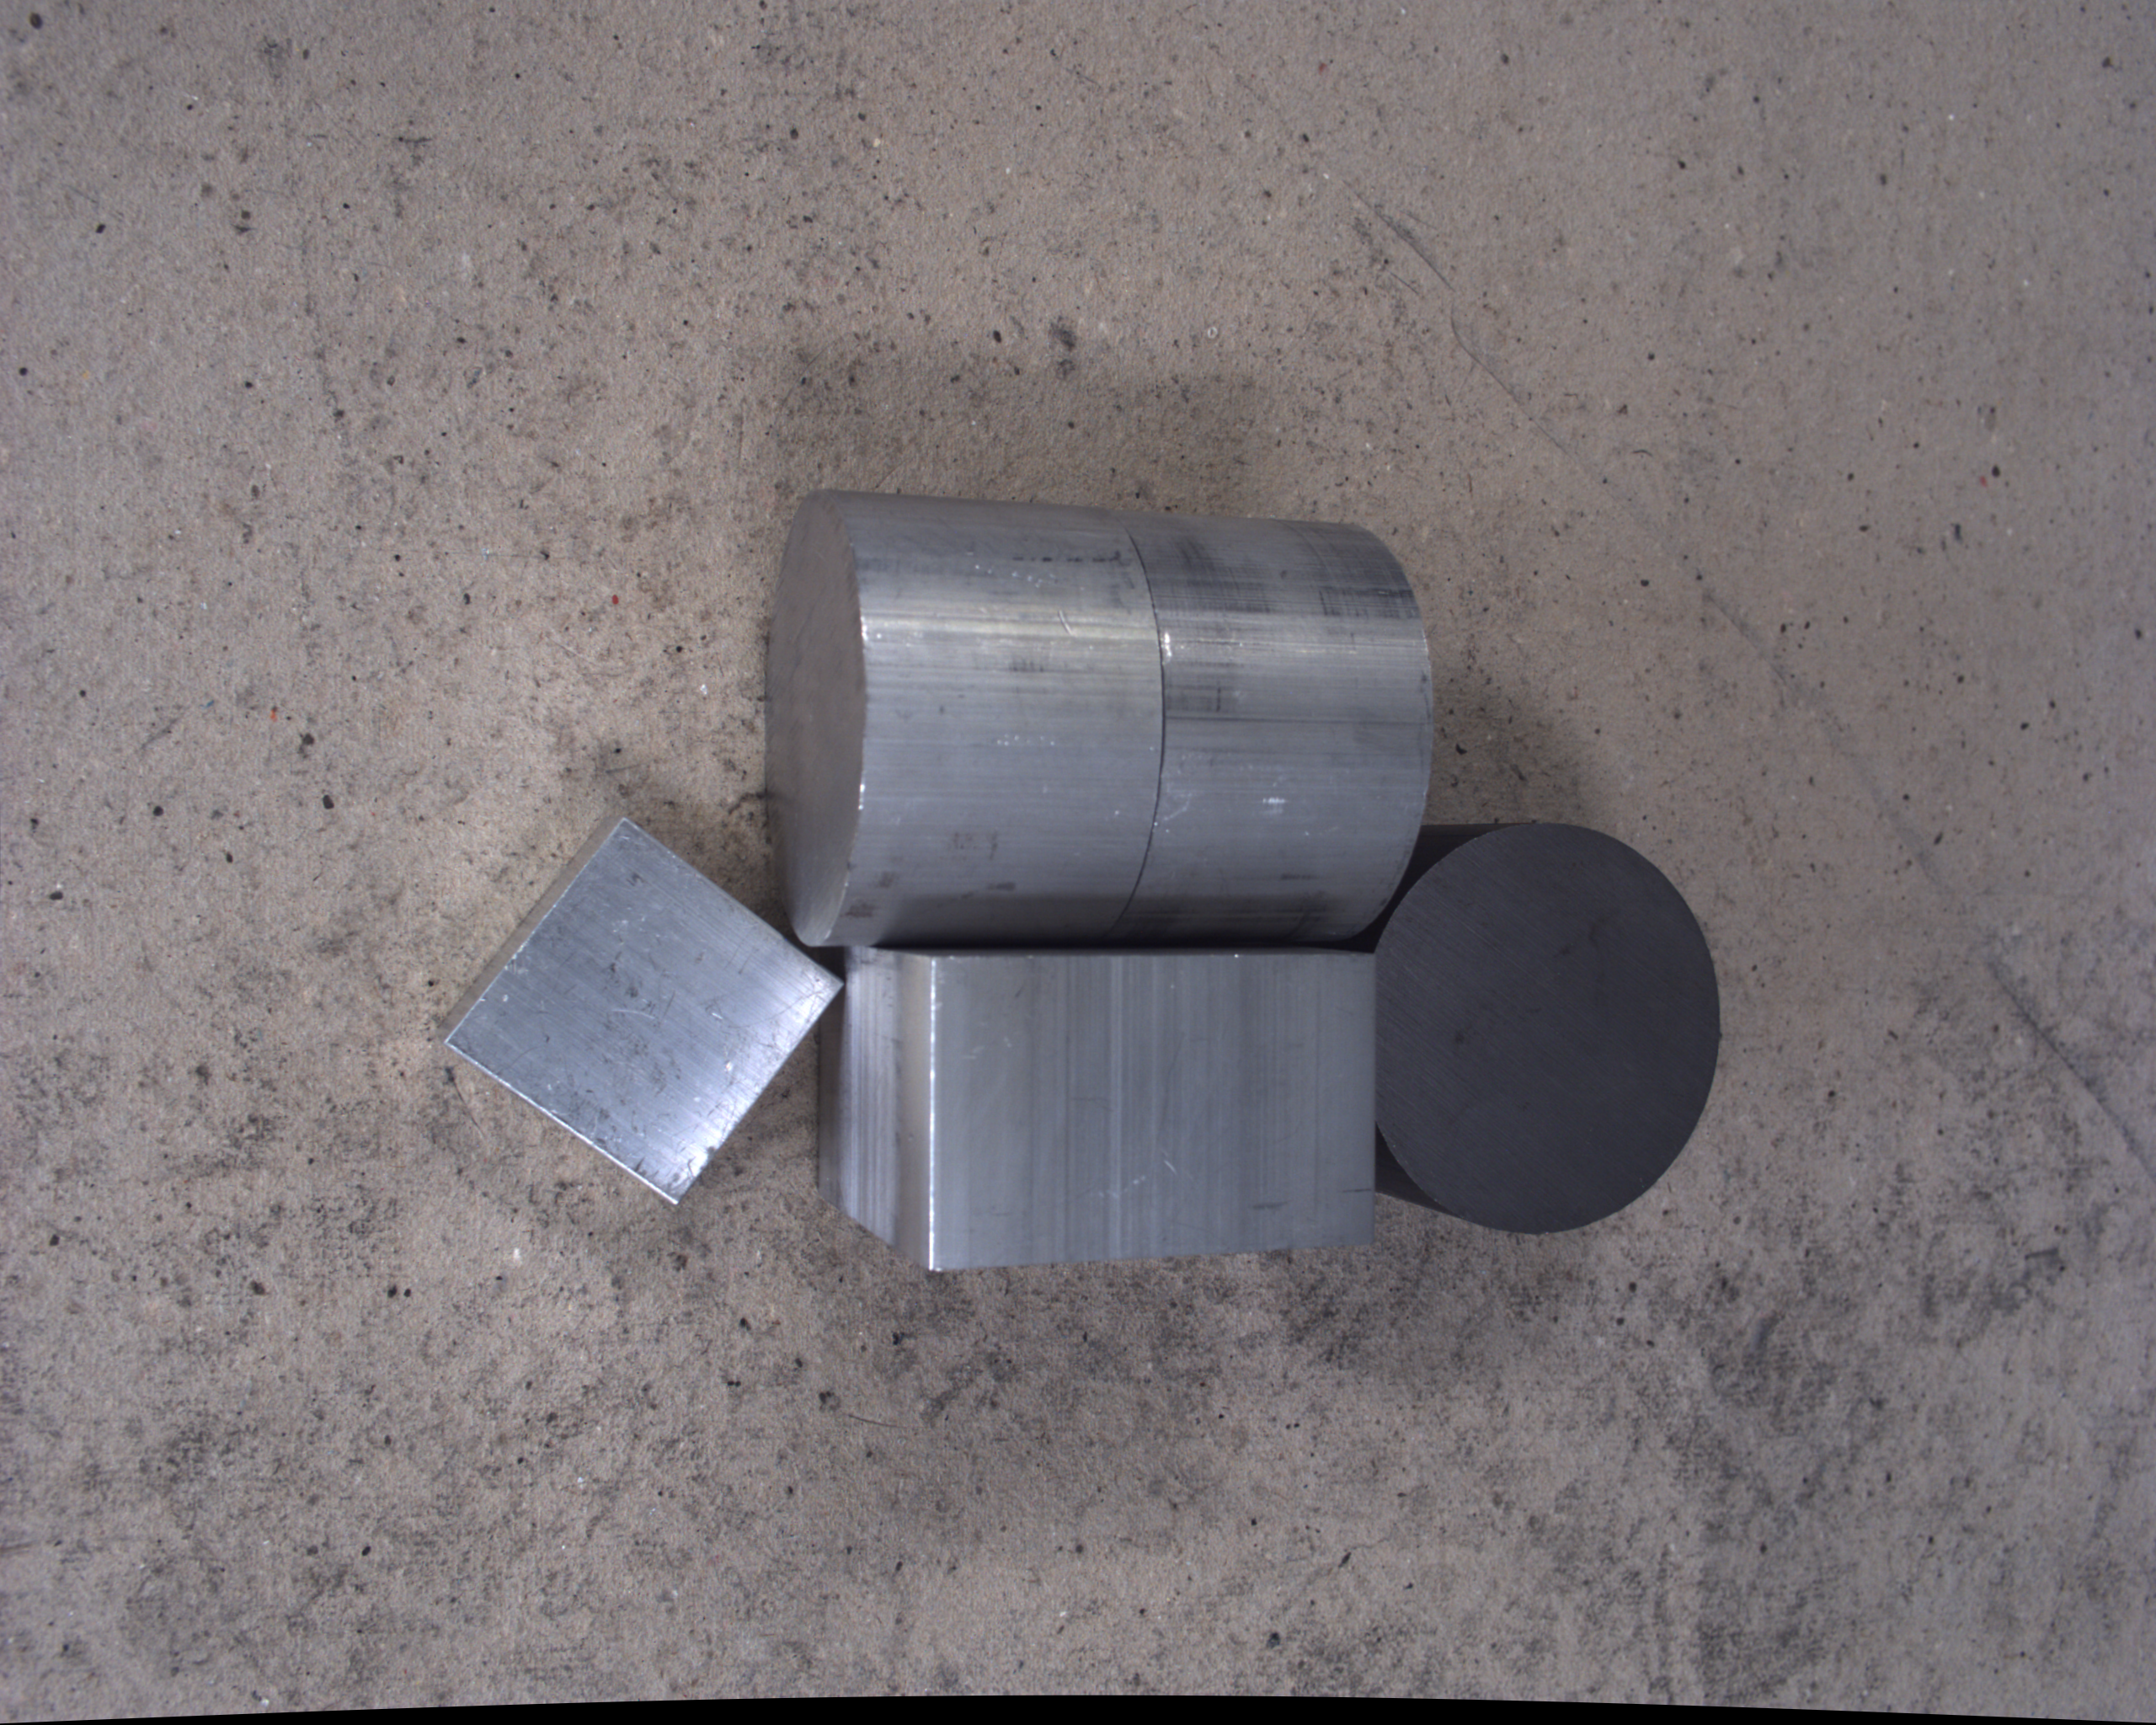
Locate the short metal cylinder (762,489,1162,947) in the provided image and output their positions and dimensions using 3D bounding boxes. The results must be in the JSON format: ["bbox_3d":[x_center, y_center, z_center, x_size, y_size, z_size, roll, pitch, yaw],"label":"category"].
[{"bbox_3d":[-0.023,-0.025,0.373,0.050,0.080,0.079,1,90,-20],"label":"short metal cylinder"}]

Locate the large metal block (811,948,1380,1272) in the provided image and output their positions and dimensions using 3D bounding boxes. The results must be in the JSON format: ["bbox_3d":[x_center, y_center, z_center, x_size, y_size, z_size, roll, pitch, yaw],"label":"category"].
[{"bbox_3d":[0.000,0.040,0.382,0.081,0.080,0.050,1,90,-20],"label":"large metal block"}]

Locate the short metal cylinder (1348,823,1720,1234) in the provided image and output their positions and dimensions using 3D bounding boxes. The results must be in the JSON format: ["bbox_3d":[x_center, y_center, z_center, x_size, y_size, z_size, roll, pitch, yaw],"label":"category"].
[{"bbox_3d":[0.082,0.032,0.427,0.081,0.050,0.079,0,90,-20],"label":"short metal cylinder"}]

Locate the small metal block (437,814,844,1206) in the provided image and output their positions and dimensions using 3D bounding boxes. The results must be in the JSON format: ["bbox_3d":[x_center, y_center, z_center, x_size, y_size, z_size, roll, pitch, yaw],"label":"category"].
[{"bbox_3d":[-0.080,0.026,0.381,0.050,0.025,0.050,40,77,-16],"label":"small metal block"}]

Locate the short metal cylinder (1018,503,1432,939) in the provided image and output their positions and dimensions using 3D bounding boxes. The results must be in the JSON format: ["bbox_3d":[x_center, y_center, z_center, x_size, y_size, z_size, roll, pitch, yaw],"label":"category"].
[{"bbox_3d":[0.024,-0.025,0.390,0.050,0.080,0.079,1,90,-20],"label":"short metal cylinder"}]
